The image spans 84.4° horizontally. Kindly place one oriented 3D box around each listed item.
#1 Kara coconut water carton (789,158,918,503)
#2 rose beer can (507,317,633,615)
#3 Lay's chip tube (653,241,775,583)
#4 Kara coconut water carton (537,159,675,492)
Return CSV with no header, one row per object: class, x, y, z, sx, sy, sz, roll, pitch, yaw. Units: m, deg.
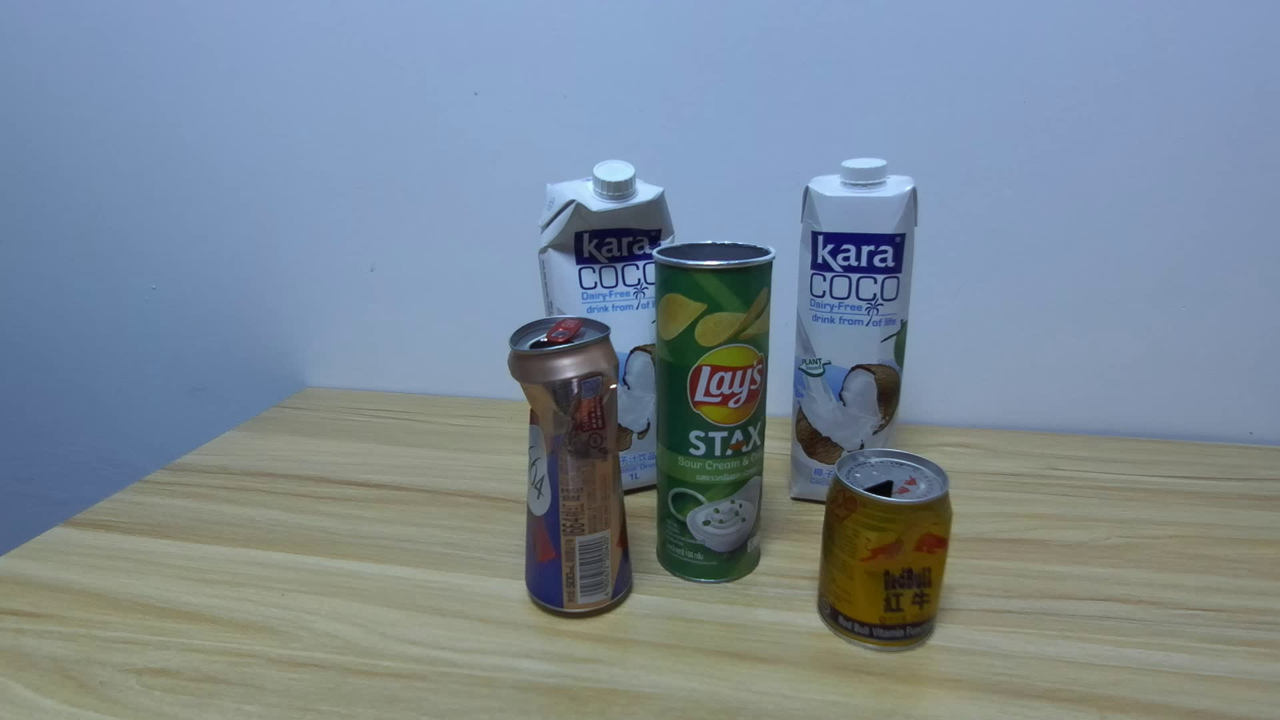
Kara coconut water carton,0.151,-0.018,0.508,0.077,0.245,0.075,6,19,19
rose beer can,-0.041,0.063,0.410,0.065,0.167,0.075,-6,20,-6
Lay's chip tube,0.044,0.032,0.434,0.071,0.202,0.071,-1,19,1
Kara coconut water carton,-0.019,-0.024,0.539,0.100,0.244,0.071,-12,22,-20
